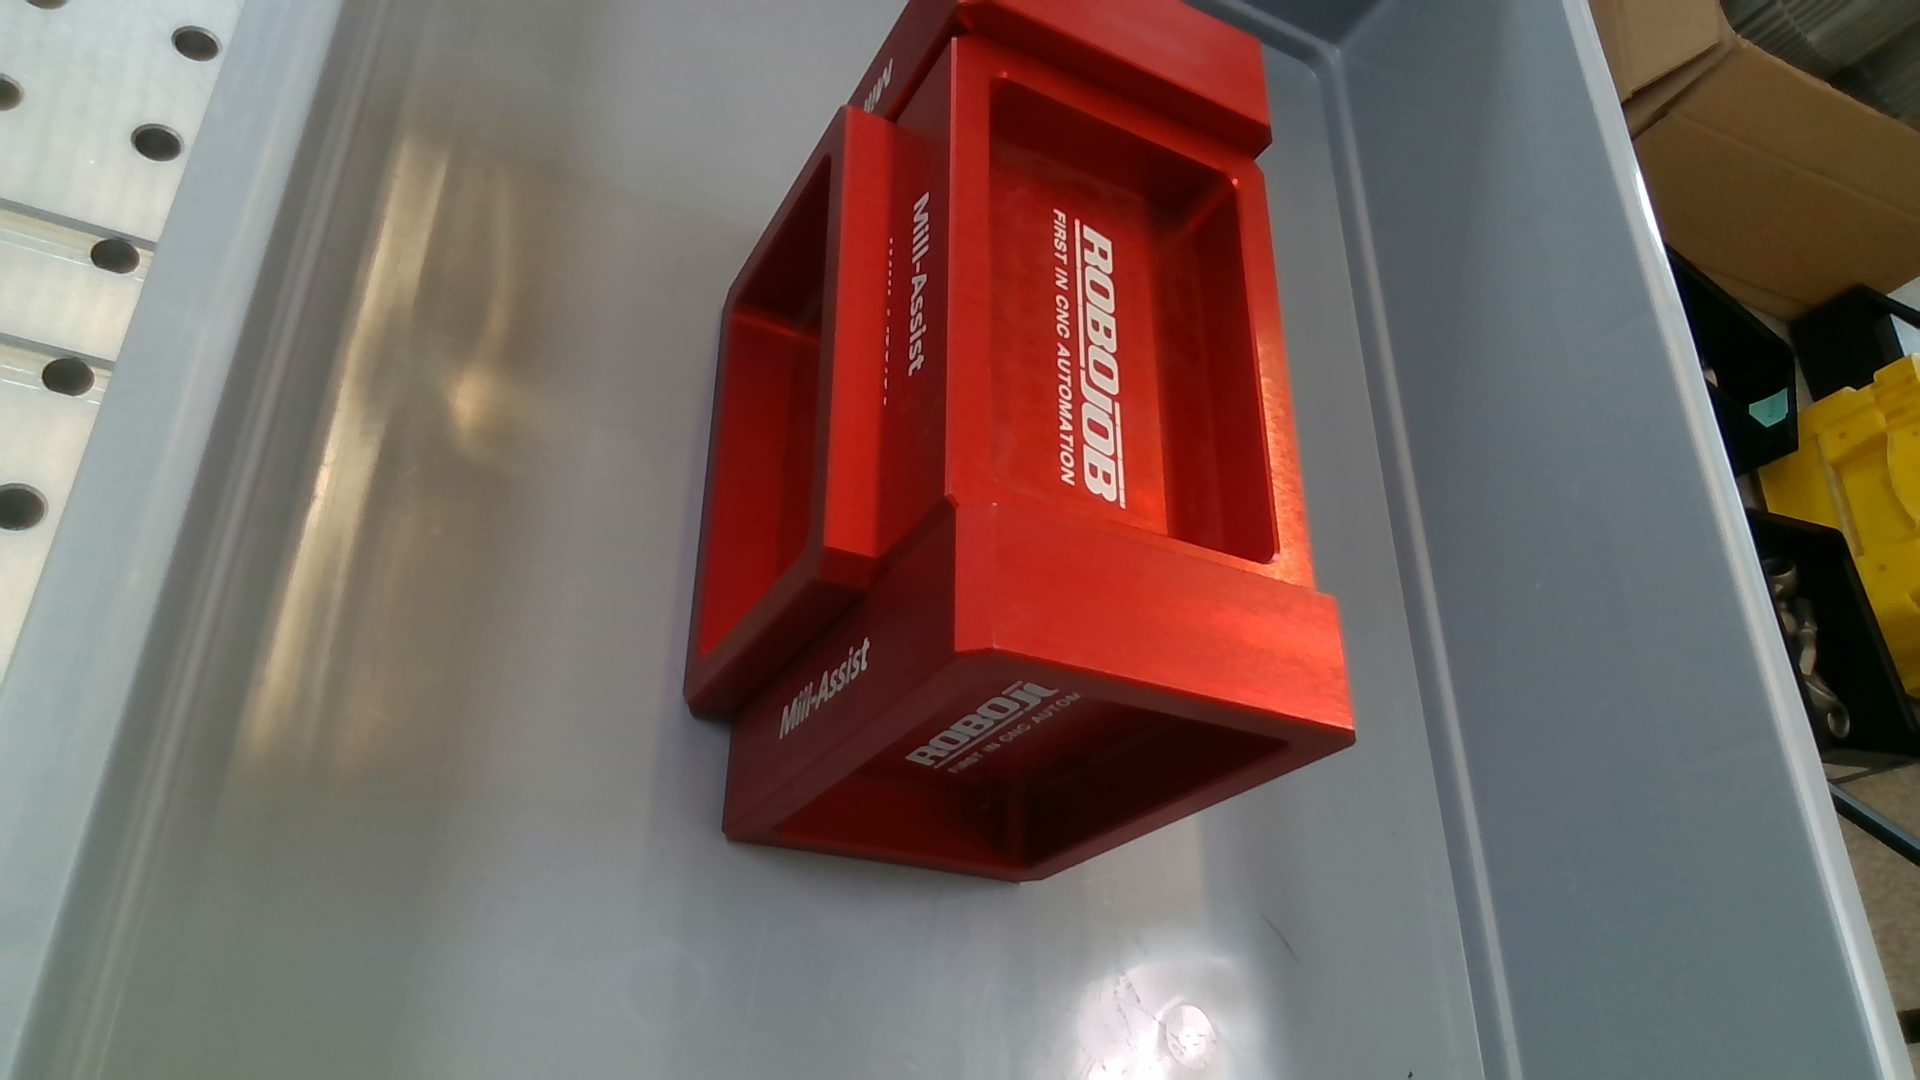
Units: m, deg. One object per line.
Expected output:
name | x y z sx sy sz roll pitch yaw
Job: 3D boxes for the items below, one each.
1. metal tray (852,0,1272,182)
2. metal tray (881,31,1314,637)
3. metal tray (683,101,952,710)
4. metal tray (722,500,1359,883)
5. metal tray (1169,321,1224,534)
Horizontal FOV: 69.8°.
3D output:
metal tray | 0.011 -0.100 0.384 0.090 0.130 0.030 14 58 -24
metal tray | 0.031 -0.045 0.315 0.090 0.030 0.130 15 58 -25
metal tray | -0.035 -0.031 0.343 0.030 0.090 0.130 15 59 -25
metal tray | 0.011 0.042 0.307 0.090 0.130 0.030 15 58 -24
metal tray | 0.044 -0.010 0.380 0.030 0.090 0.130 14 58 -24
